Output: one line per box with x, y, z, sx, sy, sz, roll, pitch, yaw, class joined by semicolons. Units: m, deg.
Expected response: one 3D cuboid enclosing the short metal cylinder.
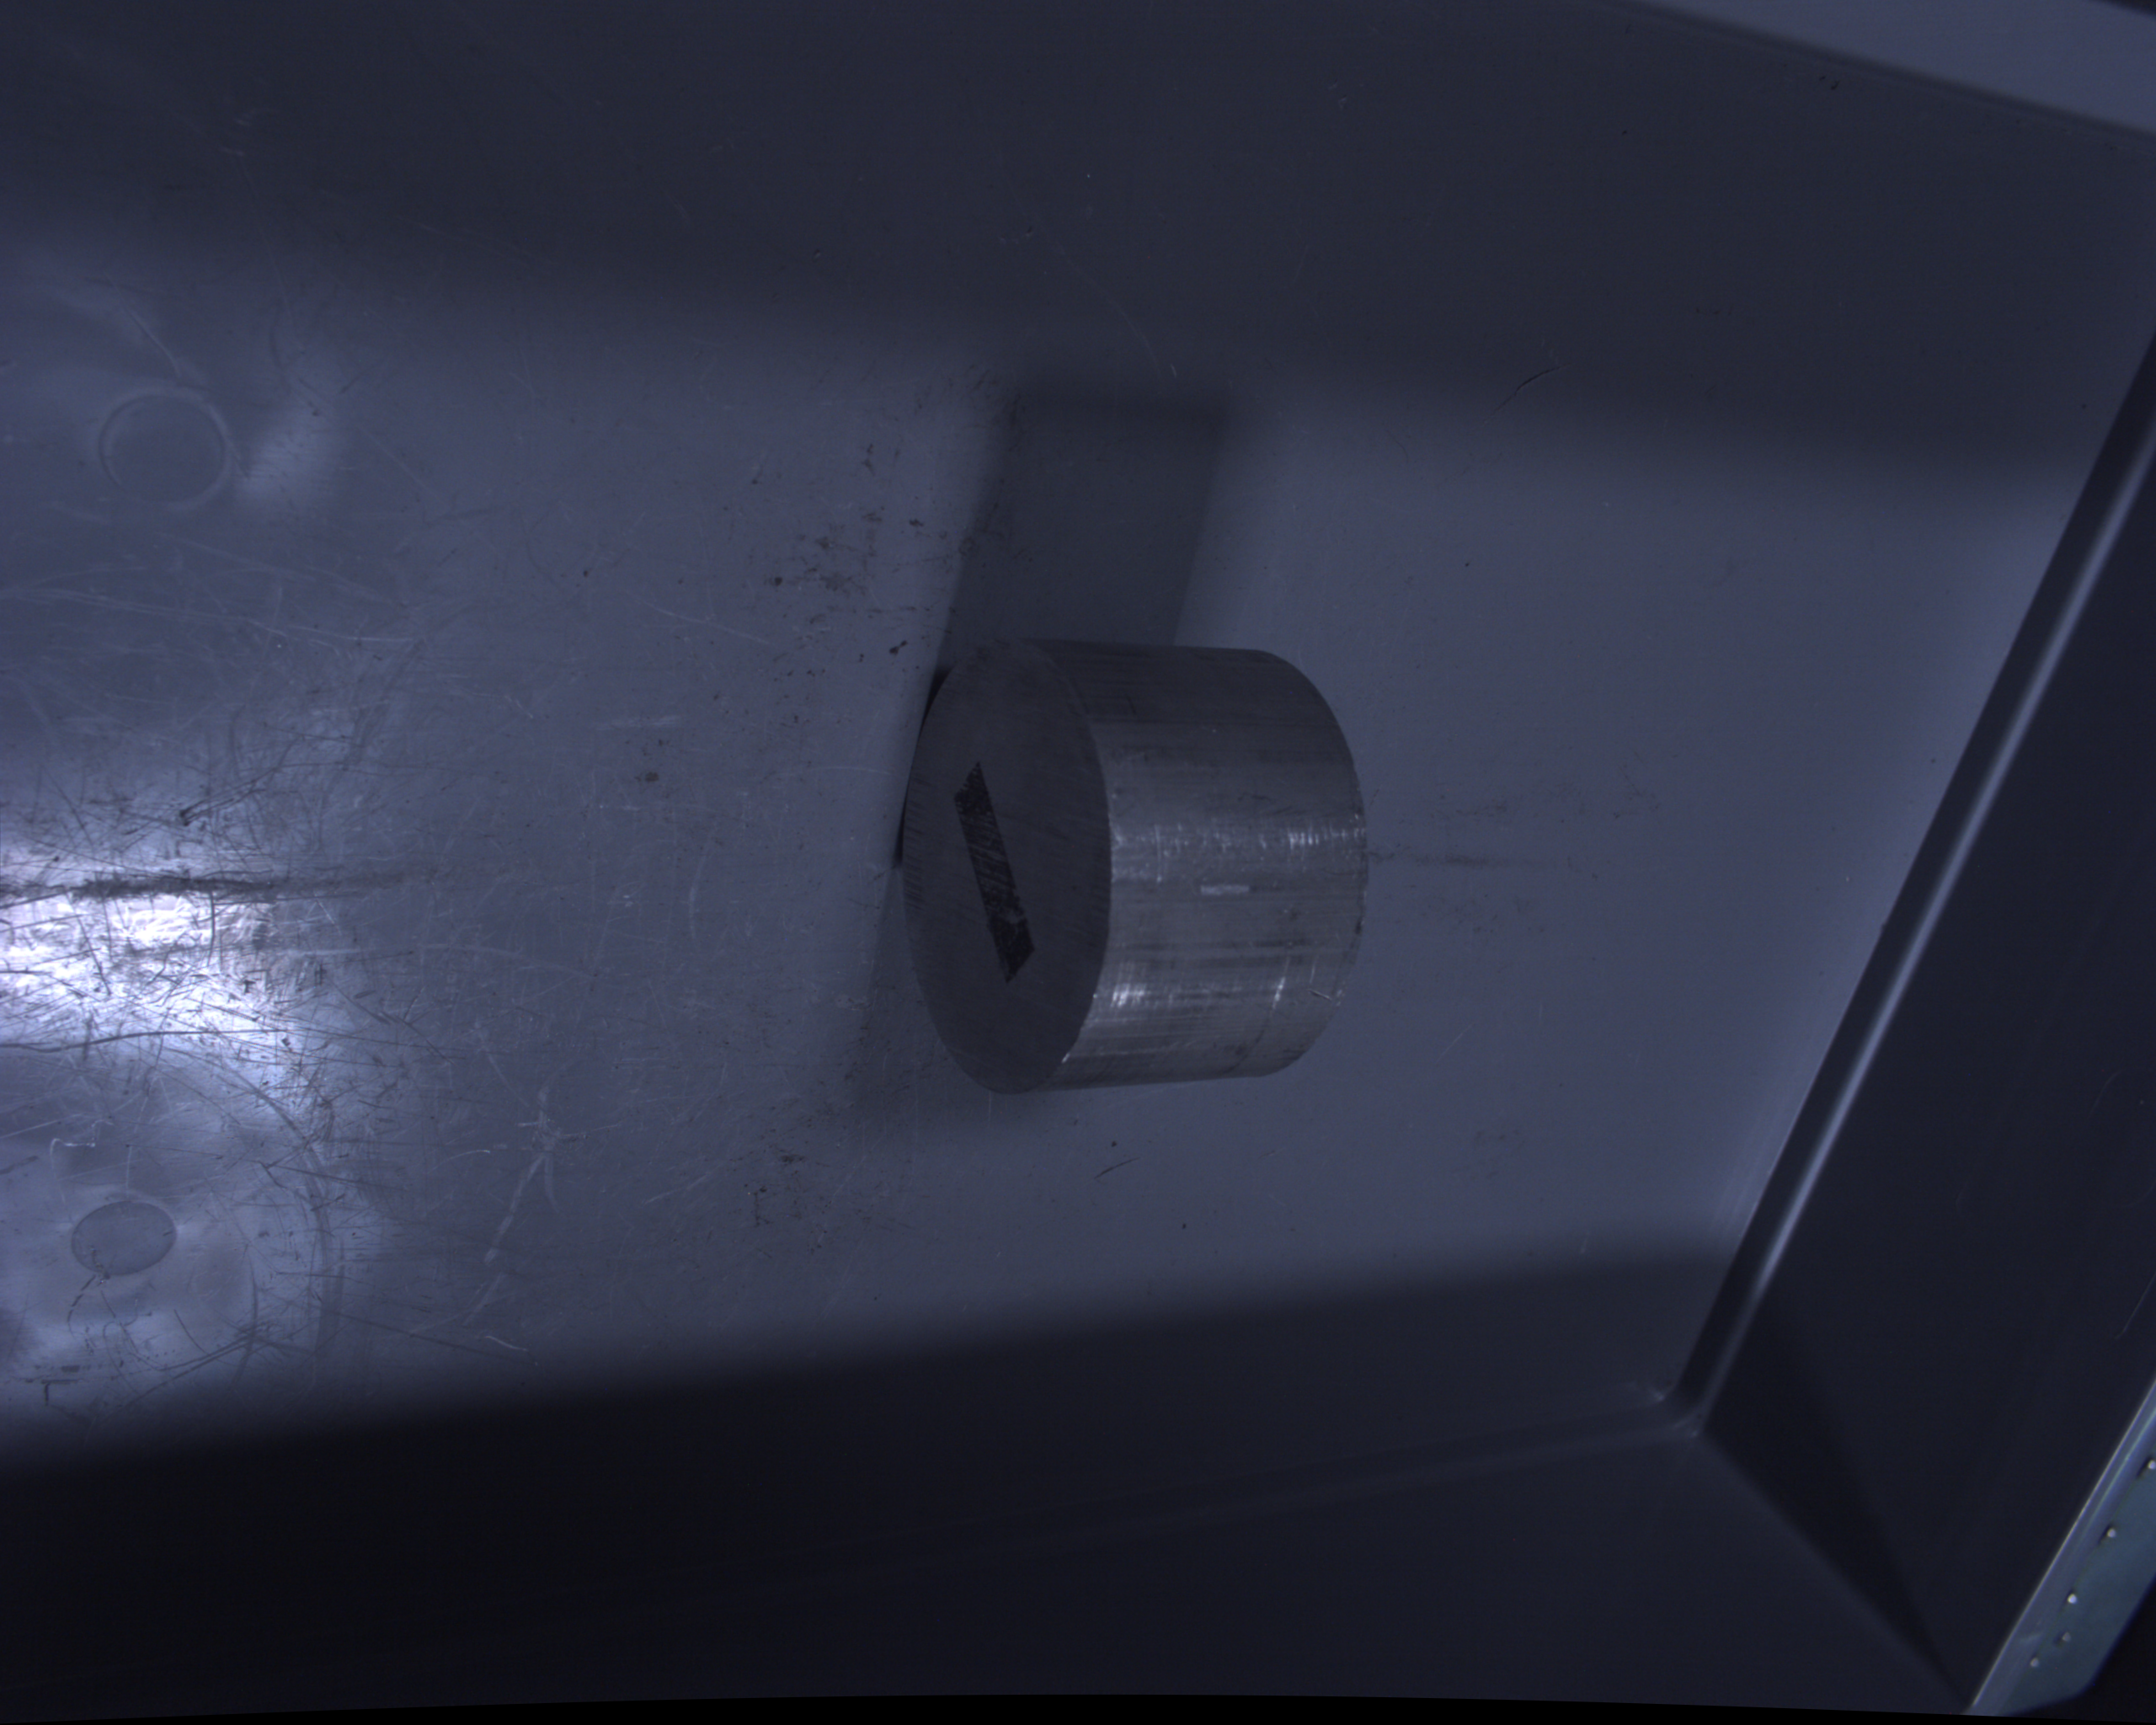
0.008;0.001;0.376;0.050;0.080;0.079;0;118;-29;short metal cylinder
